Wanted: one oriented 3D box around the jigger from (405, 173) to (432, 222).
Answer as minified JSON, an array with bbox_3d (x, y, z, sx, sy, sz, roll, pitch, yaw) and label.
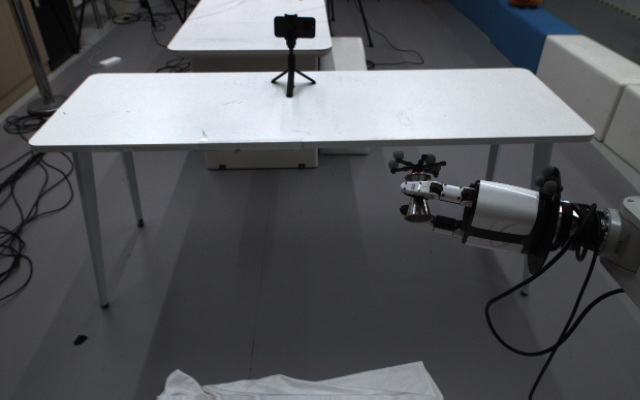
[{"bbox_3d":[0.150,-0.006,0.745,0.043,0.043,0.071,3,72,1],"label":"jigger"}]
